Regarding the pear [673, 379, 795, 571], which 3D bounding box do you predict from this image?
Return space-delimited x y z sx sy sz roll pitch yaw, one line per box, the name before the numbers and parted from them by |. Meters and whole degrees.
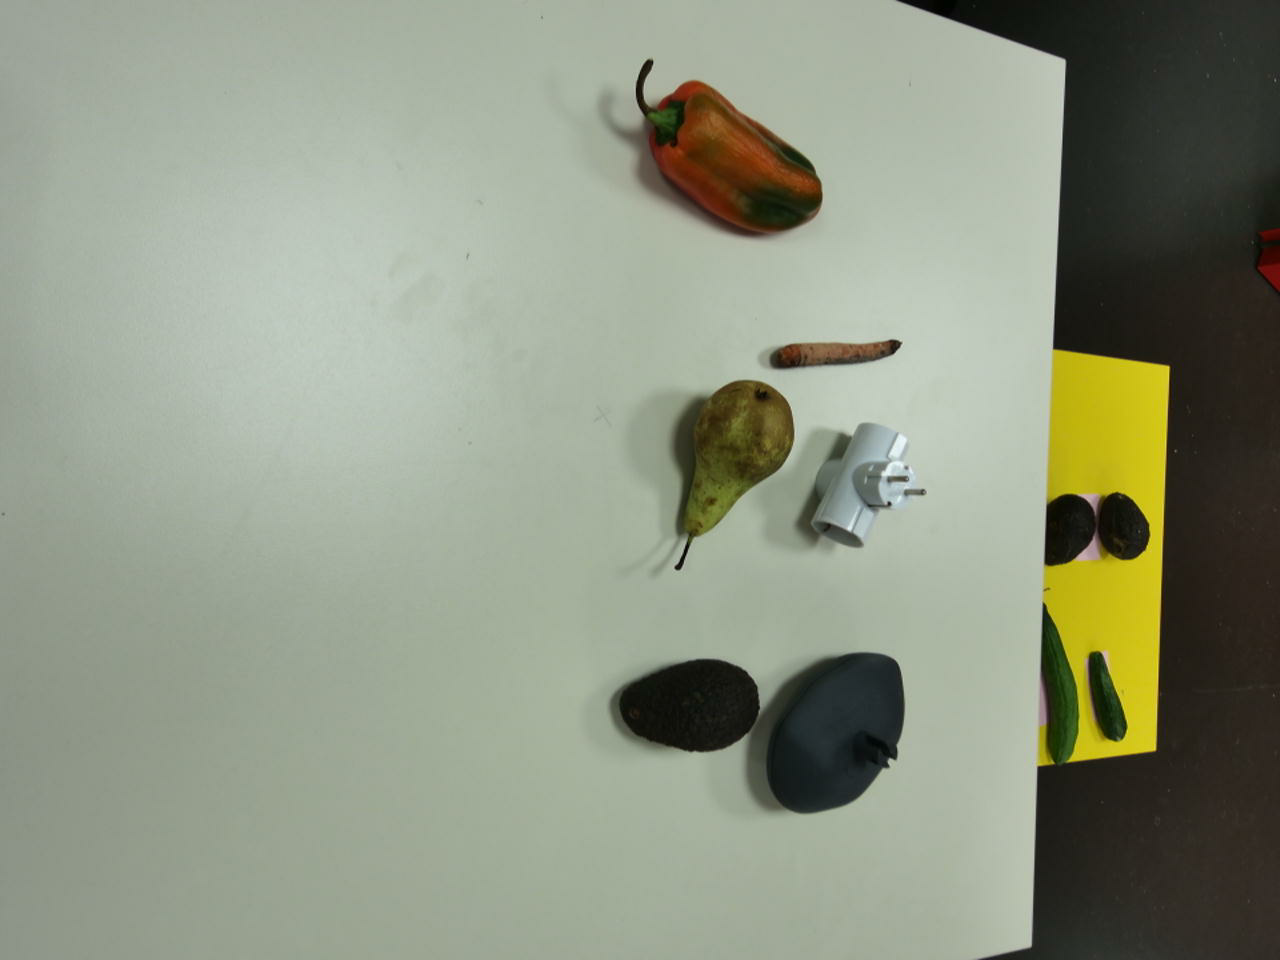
pear | 0.069 0.000 0.714 0.071 0.075 0.144 12 85 -28
